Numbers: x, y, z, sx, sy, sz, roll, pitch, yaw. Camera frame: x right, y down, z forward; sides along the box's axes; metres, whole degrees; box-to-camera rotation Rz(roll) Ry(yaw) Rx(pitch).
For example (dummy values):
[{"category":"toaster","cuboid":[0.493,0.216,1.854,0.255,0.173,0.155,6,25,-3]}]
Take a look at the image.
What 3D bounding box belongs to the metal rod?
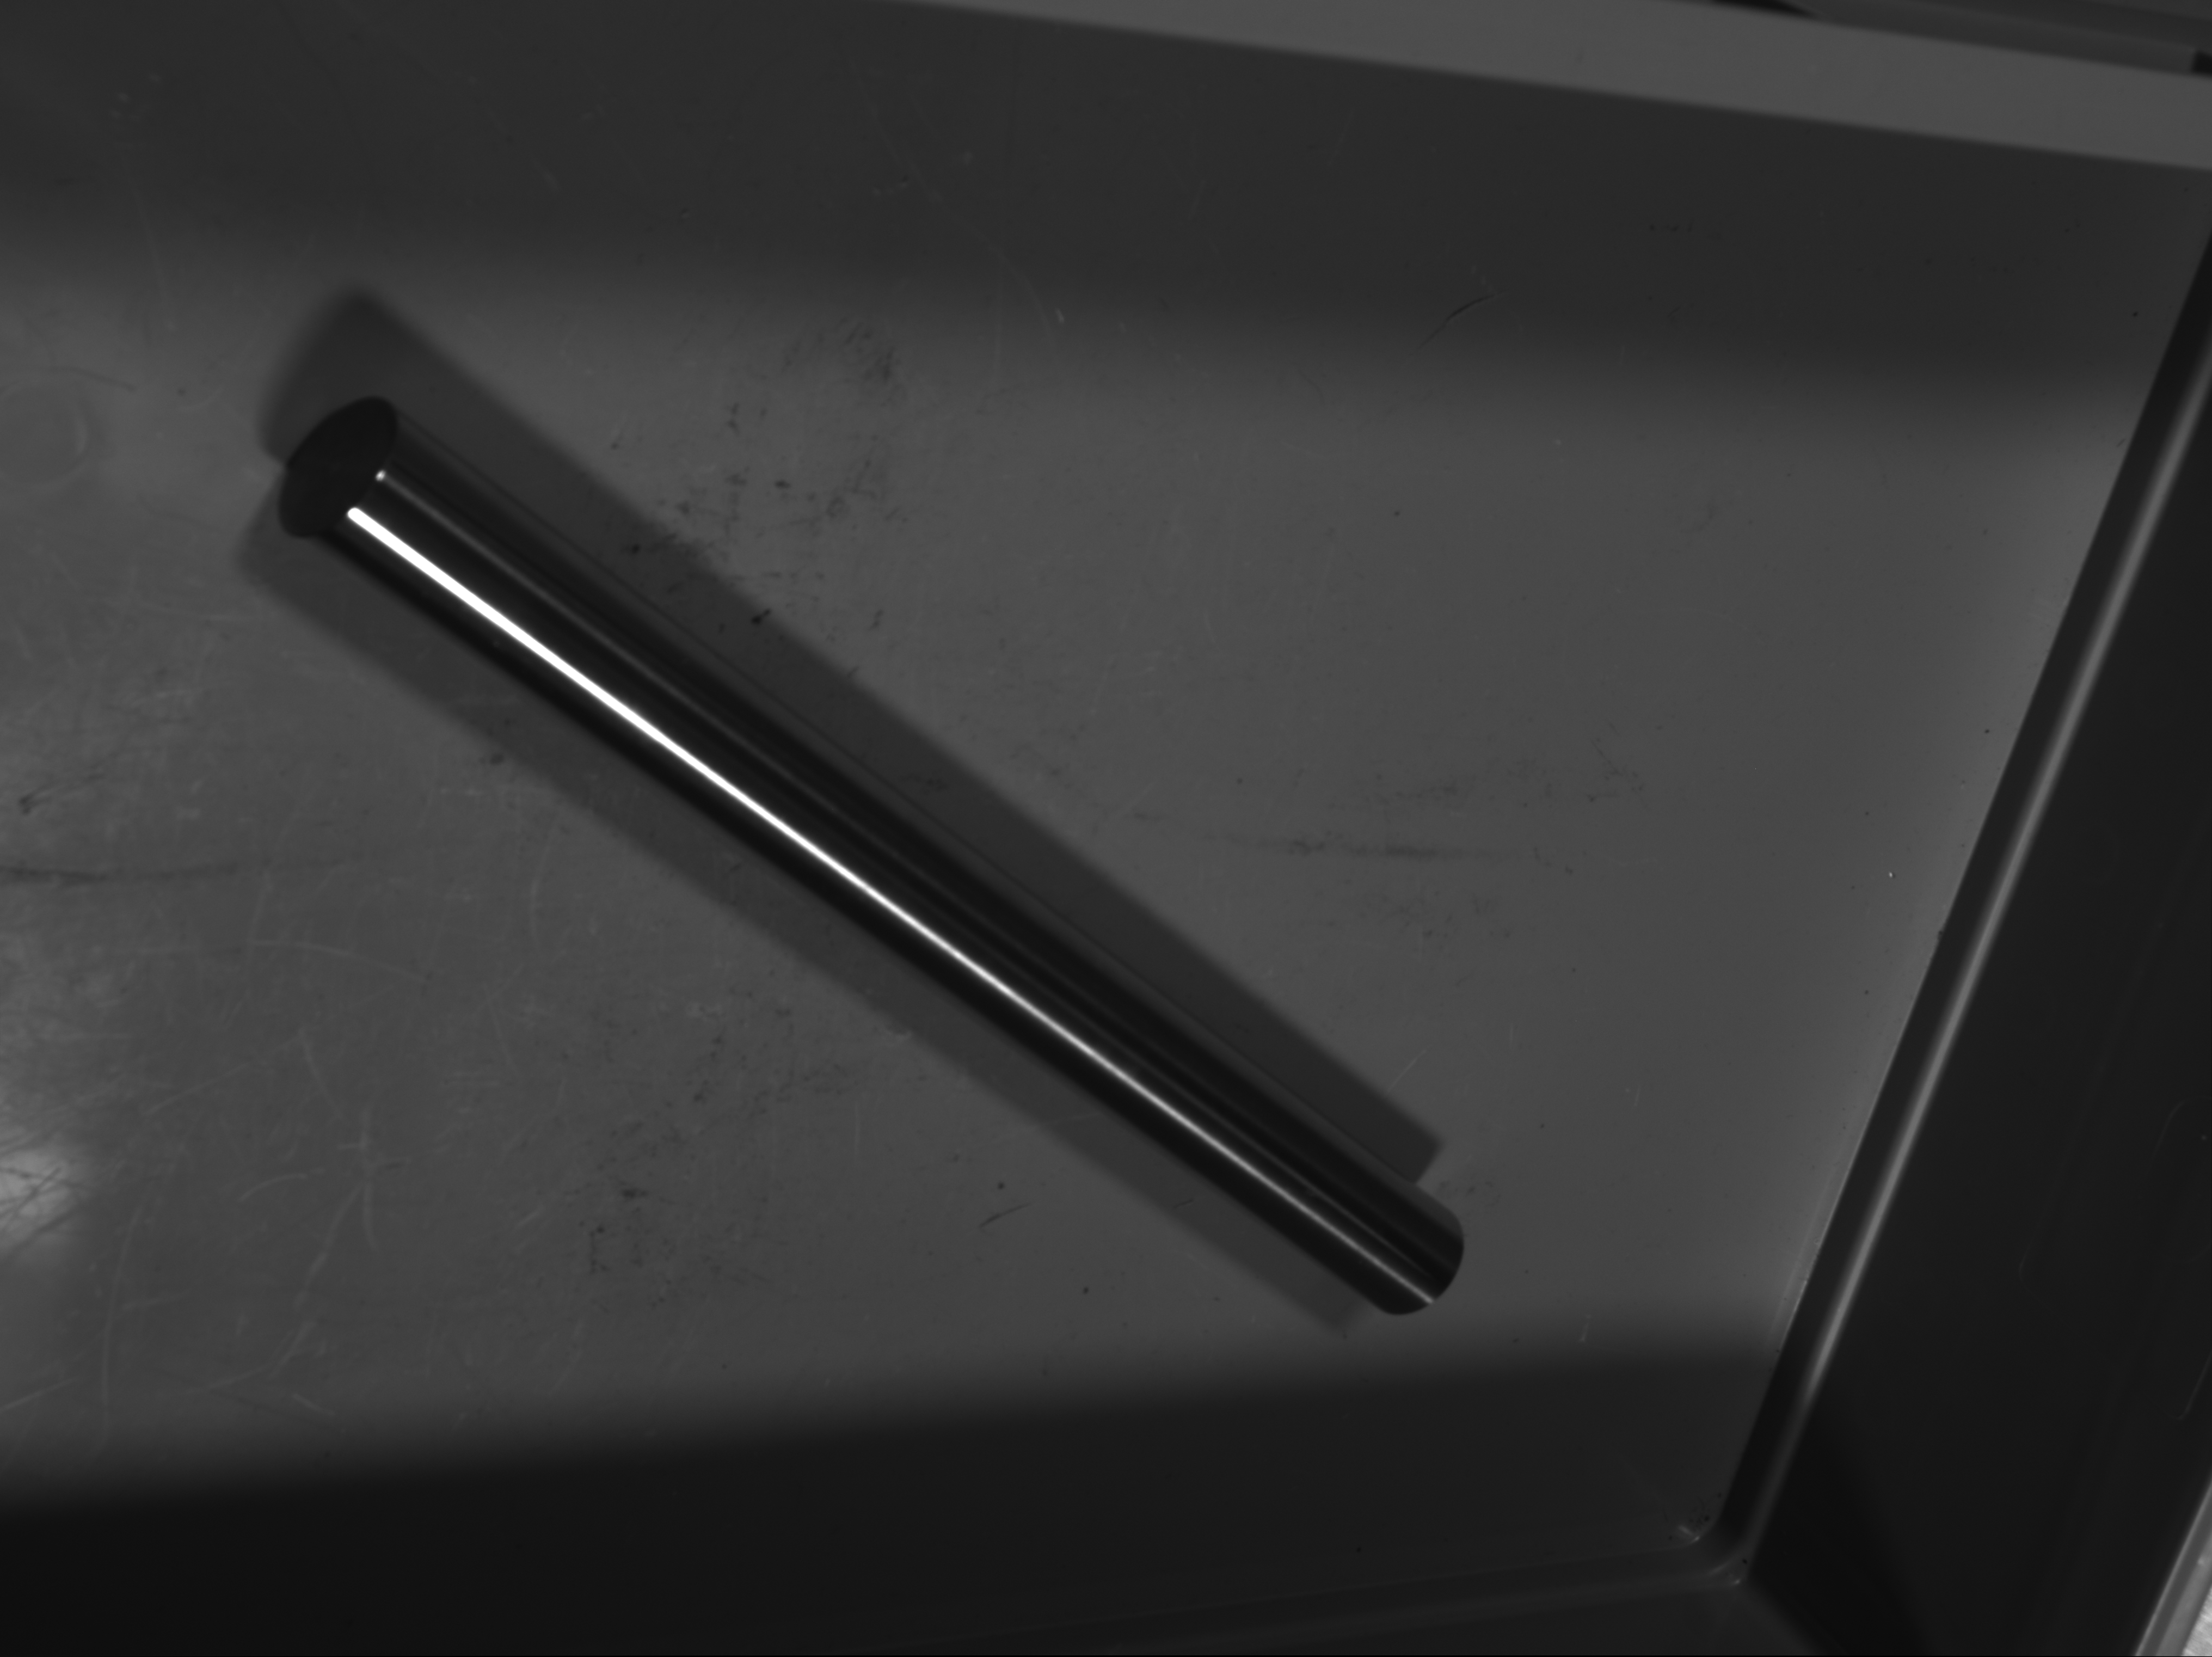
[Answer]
[{"category":"metal rod","cuboid":[-0.020,0.018,0.648,0.025,0.025,0.301,-48,130,4]}]
